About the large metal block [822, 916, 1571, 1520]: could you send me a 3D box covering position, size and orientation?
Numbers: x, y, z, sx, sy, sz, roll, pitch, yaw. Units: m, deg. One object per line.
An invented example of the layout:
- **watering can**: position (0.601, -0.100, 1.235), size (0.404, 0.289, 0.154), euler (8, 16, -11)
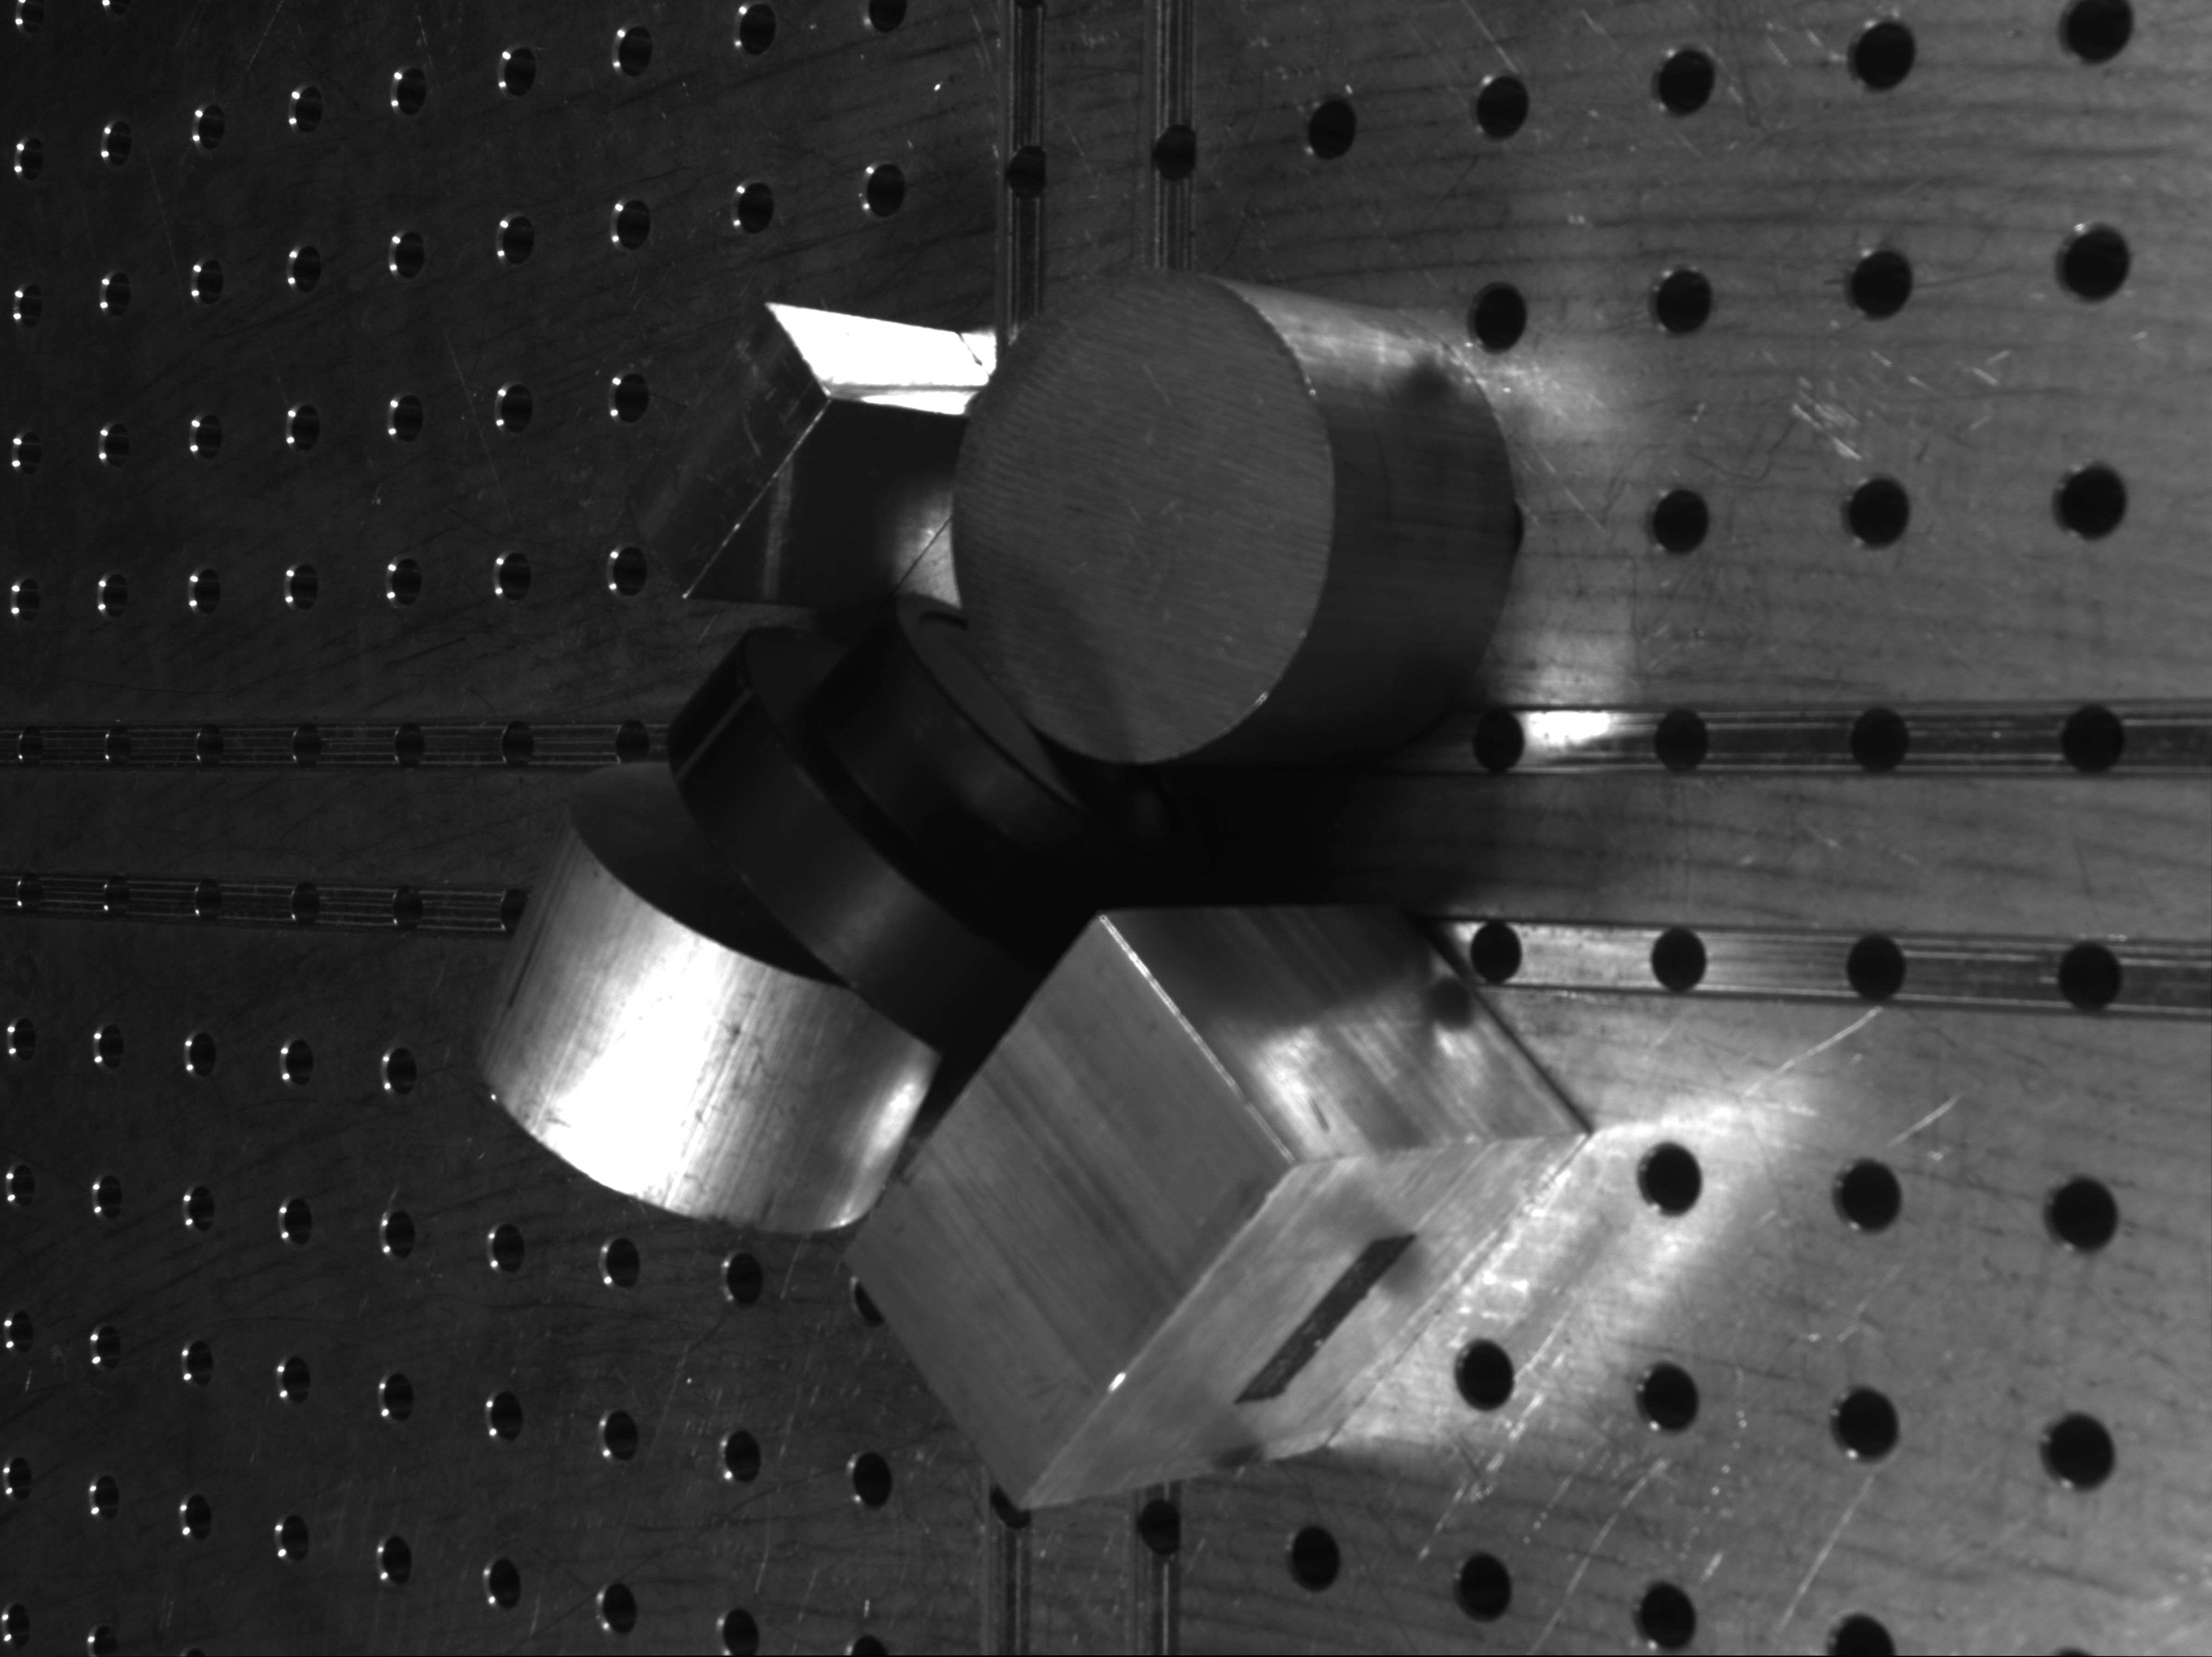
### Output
- **large metal block**: position (0.015, 0.061, 0.592), size (0.050, 0.080, 0.080), euler (51, 119, 28)

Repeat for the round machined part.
- **round machined part**: position (-0.027, -0.002, 0.615), size (0.042, 0.098, 0.098), euler (-49, 60, 14)

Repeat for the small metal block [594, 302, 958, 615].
- **small metal block**: position (-0.057, -0.066, 0.670), size (0.050, 0.050, 0.025), euler (-50, 61, 28)

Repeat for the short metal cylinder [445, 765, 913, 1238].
- **short metal cylinder**: position (-0.073, 0.030, 0.663), size (0.080, 0.080, 0.050), euler (38, 113, 33)

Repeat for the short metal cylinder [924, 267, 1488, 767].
- **short metal cylinder**: position (0.016, -0.050, 0.610), size (0.080, 0.050, 0.080), euler (0, 90, 39)
